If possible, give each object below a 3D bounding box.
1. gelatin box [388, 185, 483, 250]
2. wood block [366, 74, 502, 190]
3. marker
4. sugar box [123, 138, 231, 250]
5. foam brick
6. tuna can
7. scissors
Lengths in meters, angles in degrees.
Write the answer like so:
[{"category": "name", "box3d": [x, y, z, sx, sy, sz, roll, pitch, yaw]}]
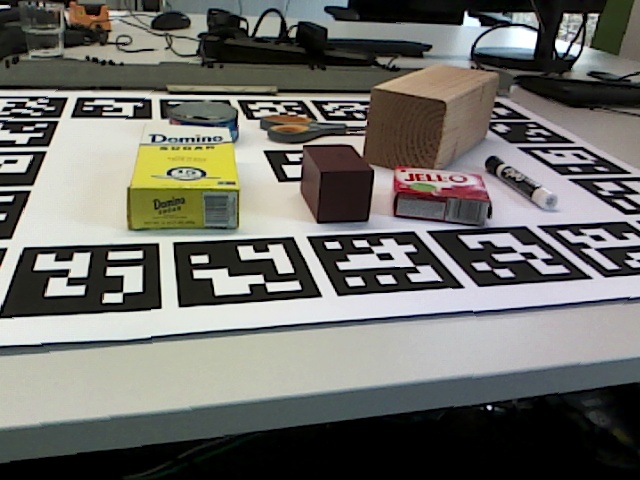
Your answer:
[{"category": "gelatin box", "box3d": [0.114, -0.025, 0.622, 0.089, 0.030, 0.073, 7, 30, 4]}, {"category": "wood block", "box3d": [0.148, -0.138, 0.772, 0.090, 0.091, 0.205, 20, 32, 25]}, {"category": "marker", "box3d": [0.211, -0.046, 0.681, 0.019, 0.019, 0.121, -1, 33, -12]}, {"category": "sugar box", "box3d": [-0.137, -0.052, 0.616, 0.092, 0.045, 0.177, 1, 30, -10]}, {"category": "foam brick", "box3d": [0.013, -0.038, 0.600, 0.052, 0.051, 0.078, -2, 31, -11]}, {"category": "tuna can", "box3d": [-0.148, -0.137, 0.766, 0.086, 0.033, 0.086, 4, 30, -3]}, {"category": "scissors", "box3d": [0.018, -0.137, 0.817, 0.202, 0.016, 0.088, 0, 30, -5]}]
